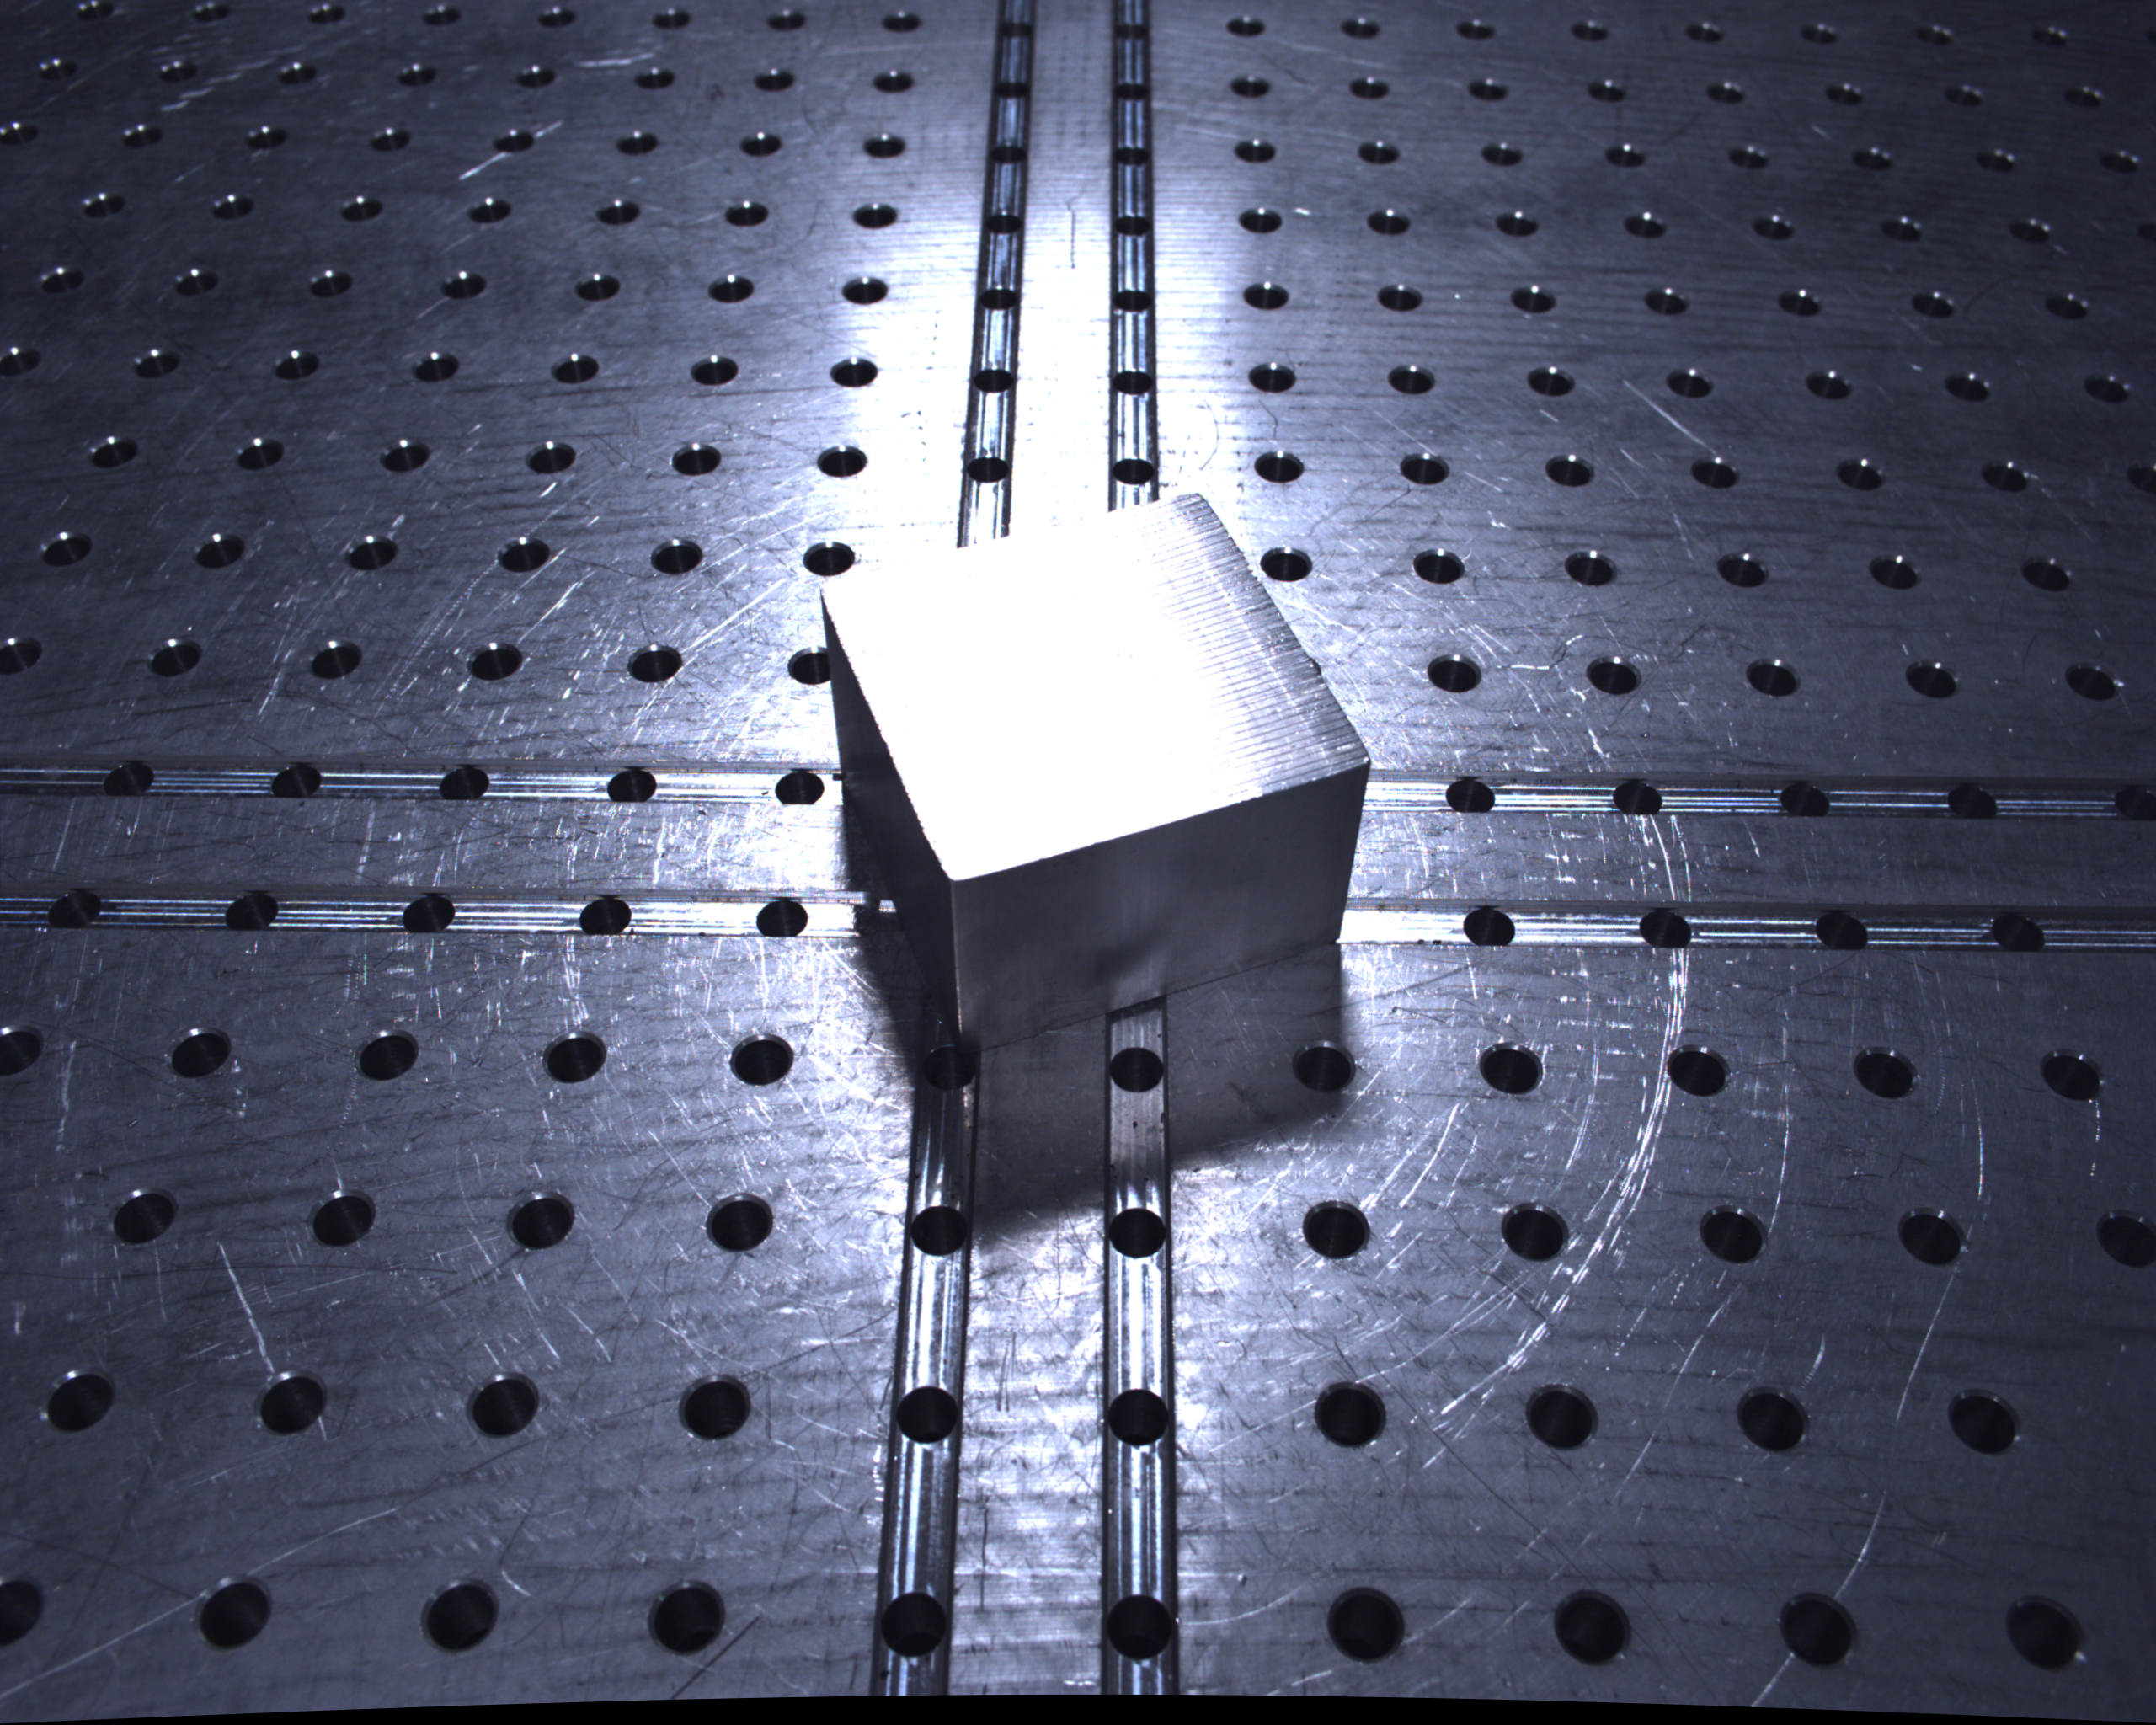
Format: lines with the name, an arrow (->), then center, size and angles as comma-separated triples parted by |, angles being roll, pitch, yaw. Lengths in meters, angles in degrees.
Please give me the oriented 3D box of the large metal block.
large metal block -> 0.002, -0.019, 0.404 | 0.081, 0.050, 0.080 | -16, 52, -14
